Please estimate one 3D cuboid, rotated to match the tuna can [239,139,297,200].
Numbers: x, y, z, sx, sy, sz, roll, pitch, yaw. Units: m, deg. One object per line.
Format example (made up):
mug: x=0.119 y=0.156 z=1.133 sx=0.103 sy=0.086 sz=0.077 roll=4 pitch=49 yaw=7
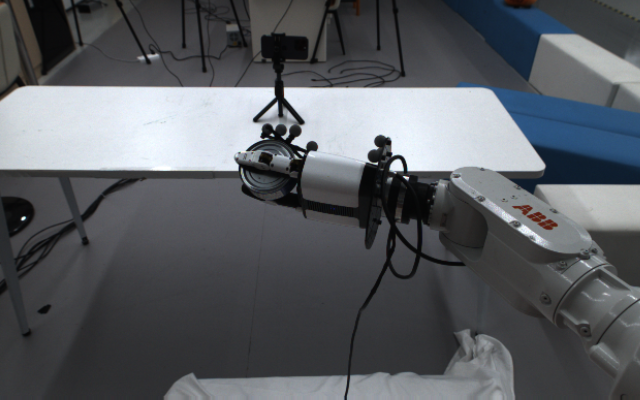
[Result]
tuna can: x=-0.074 y=-0.045 z=0.713 sx=0.085 sy=0.034 sz=0.085 roll=-4 pitch=67 yaw=10
